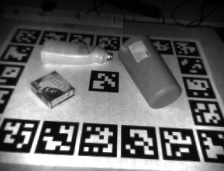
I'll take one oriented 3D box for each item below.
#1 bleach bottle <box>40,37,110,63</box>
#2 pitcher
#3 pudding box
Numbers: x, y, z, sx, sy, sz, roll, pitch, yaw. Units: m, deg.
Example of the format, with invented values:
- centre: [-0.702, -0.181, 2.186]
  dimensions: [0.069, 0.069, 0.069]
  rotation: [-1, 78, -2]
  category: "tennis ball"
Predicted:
- centre: [-0.131, -0.132, 0.809]
  dimensions: [0.251, 0.068, 0.102]
  rotation: [2, 53, -7]
  category: "bleach bottle"
- centre: [0.127, -0.049, 0.743]
  dimensions: [0.191, 0.132, 0.240]
  rotation: [9, 44, -45]
  category: "pitcher"
- centre: [-0.195, 0.000, 0.698]
  dimensions: [0.091, 0.039, 0.112]
  rotation: [-31, 60, -35]
  category: "pudding box"
